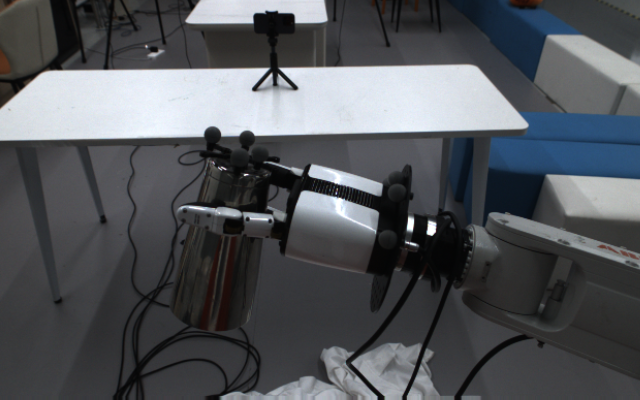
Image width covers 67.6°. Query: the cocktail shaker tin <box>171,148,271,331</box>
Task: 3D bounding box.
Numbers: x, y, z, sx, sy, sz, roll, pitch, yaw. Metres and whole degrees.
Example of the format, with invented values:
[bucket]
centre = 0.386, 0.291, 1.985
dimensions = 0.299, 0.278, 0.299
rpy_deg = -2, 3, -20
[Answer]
[cocktail shaker tin]
centre = -0.100, 0.042, 0.520
dimensions = 0.093, 0.170, 0.093
rpy_deg = 13, 18, -5
